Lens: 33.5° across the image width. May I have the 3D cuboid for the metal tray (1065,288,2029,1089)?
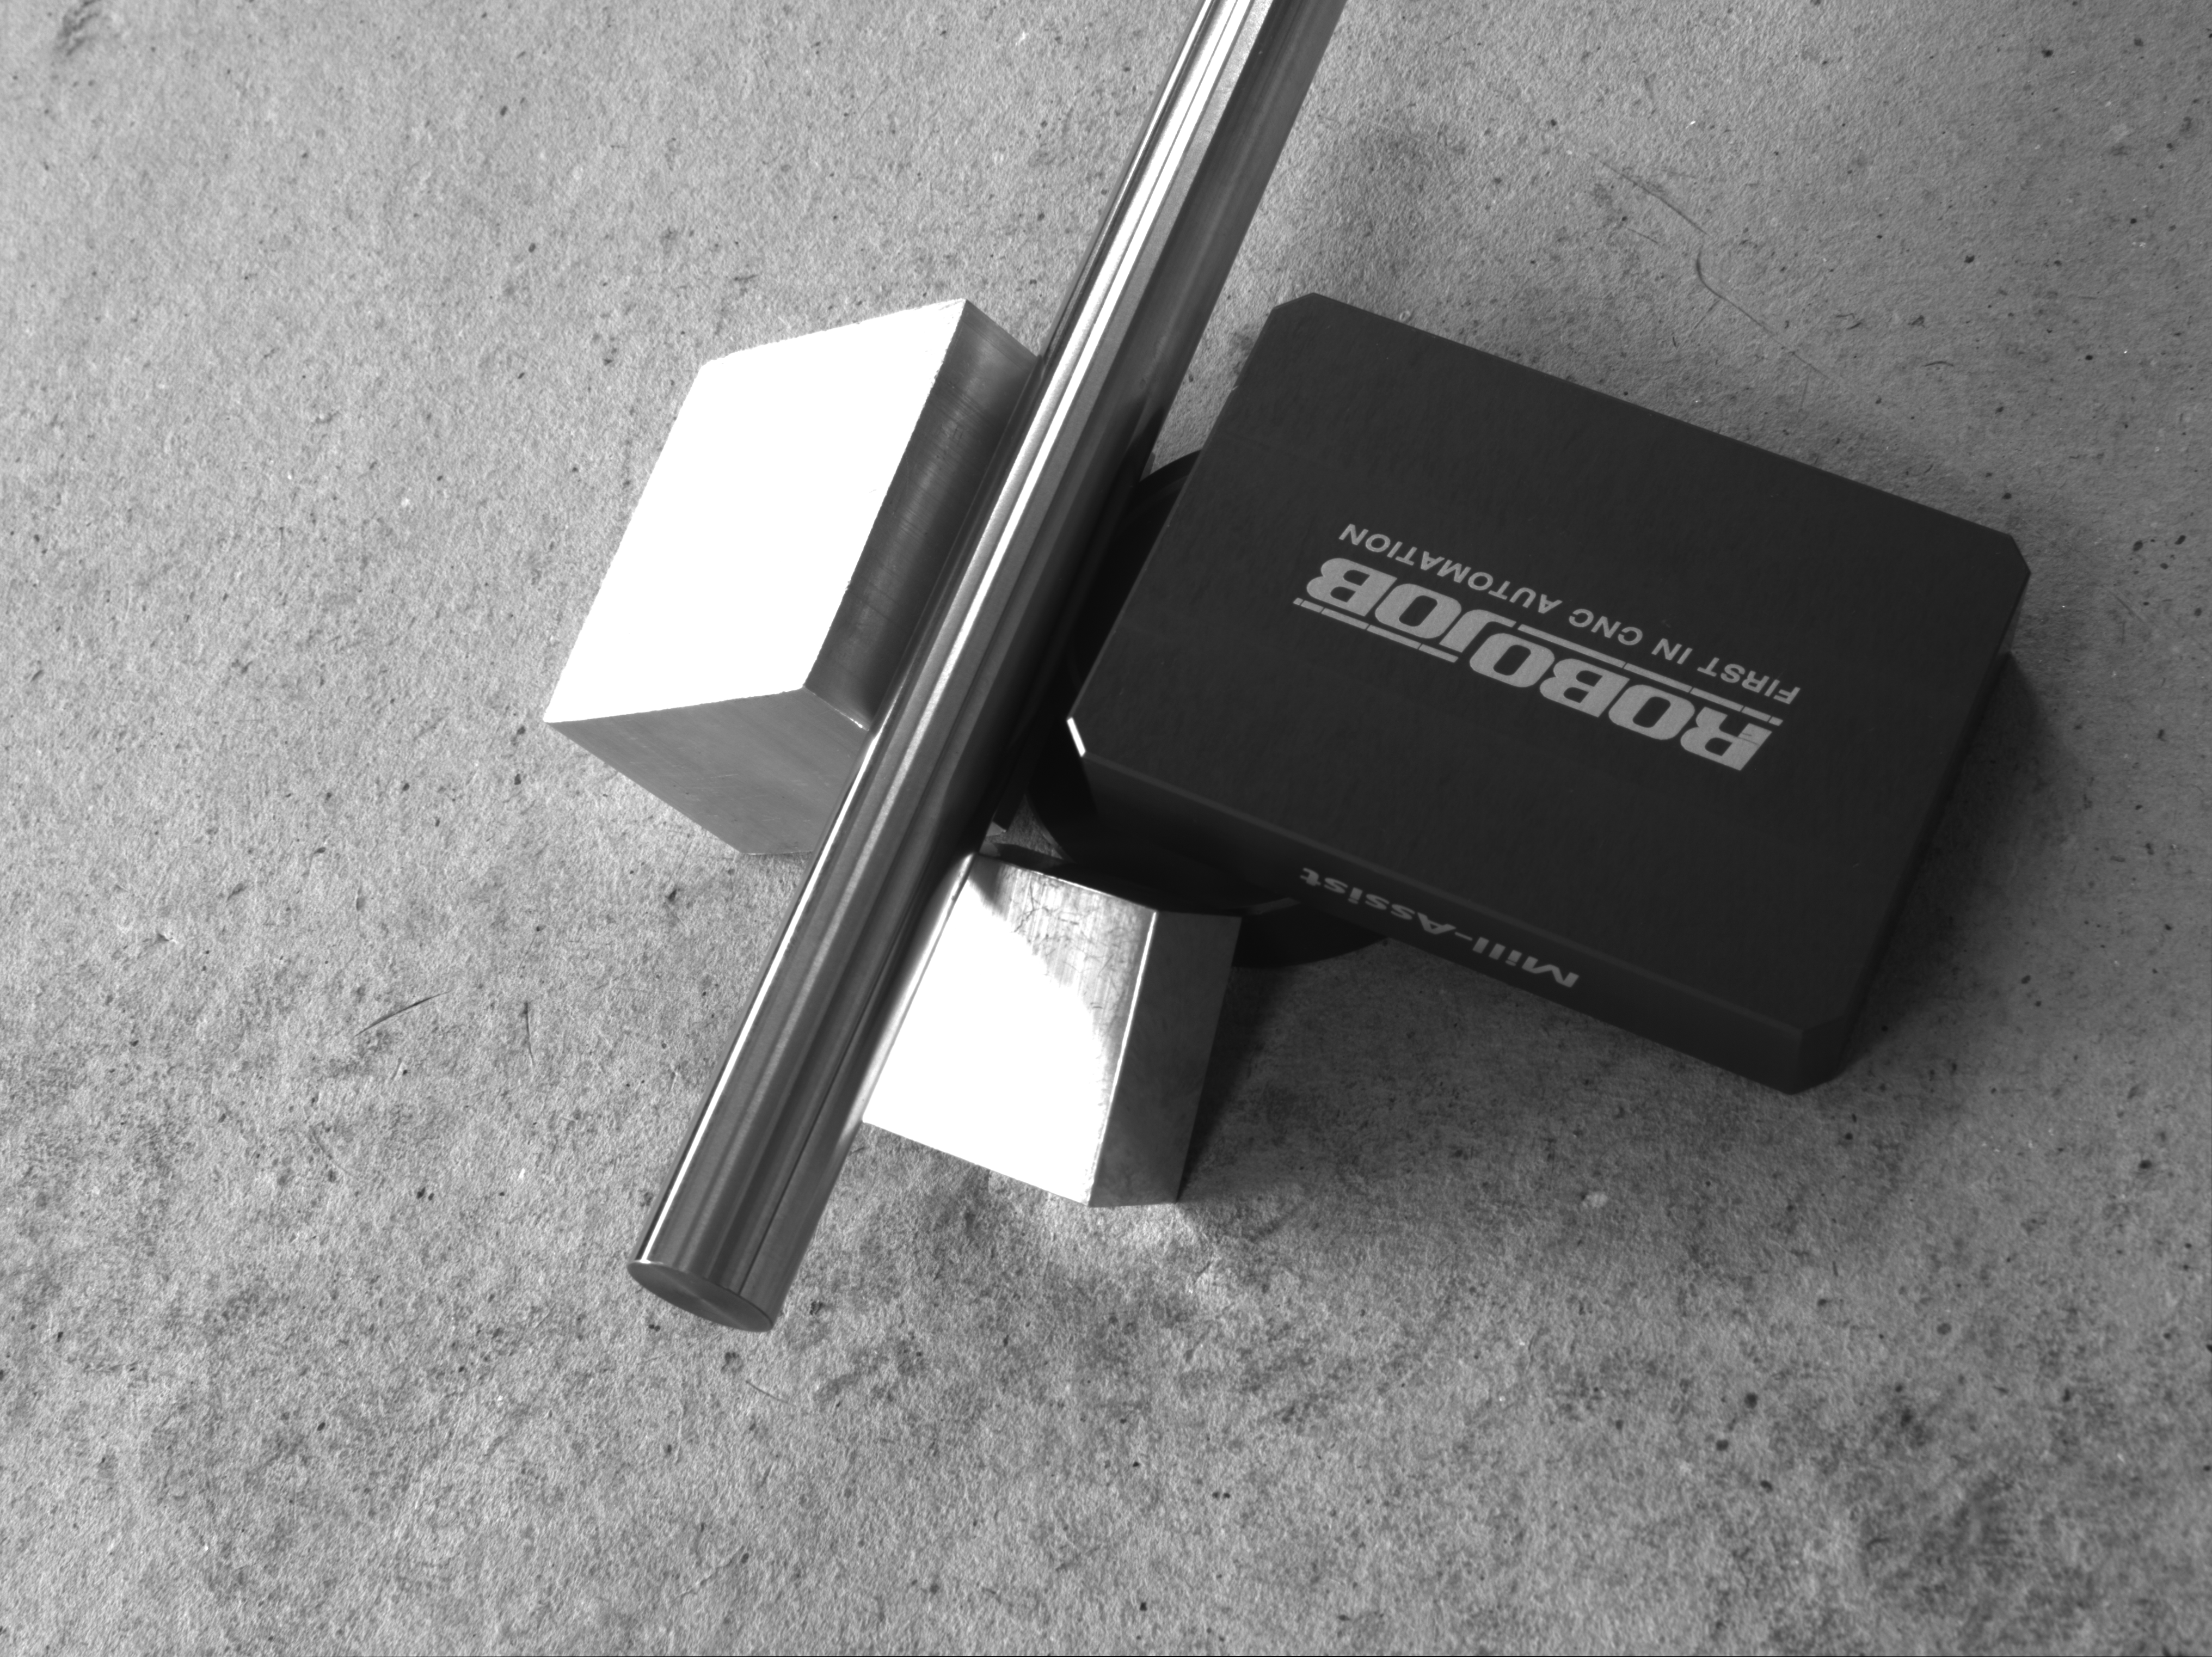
[{"bbox_3d":[0.070,-0.024,0.591,0.130,0.030,0.090,21,73,15],"label":"metal tray"}]

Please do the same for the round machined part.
[{"bbox_3d":[0.028,-0.029,0.637,0.098,0.042,0.098,-14,56,21],"label":"round machined part"}]

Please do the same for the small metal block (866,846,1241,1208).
[{"bbox_3d":[-0.010,0.032,0.619,0.050,0.025,0.050,17,96,35],"label":"small metal block"}]

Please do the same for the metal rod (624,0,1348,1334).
[{"bbox_3d":[-0.010,-0.055,0.631,0.025,0.025,0.300,8,63,32],"label":"metal rod"}]

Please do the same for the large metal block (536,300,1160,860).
[{"bbox_3d":[-0.047,-0.043,0.668,0.080,0.050,0.080,-4,58,48],"label":"large metal block"}]
